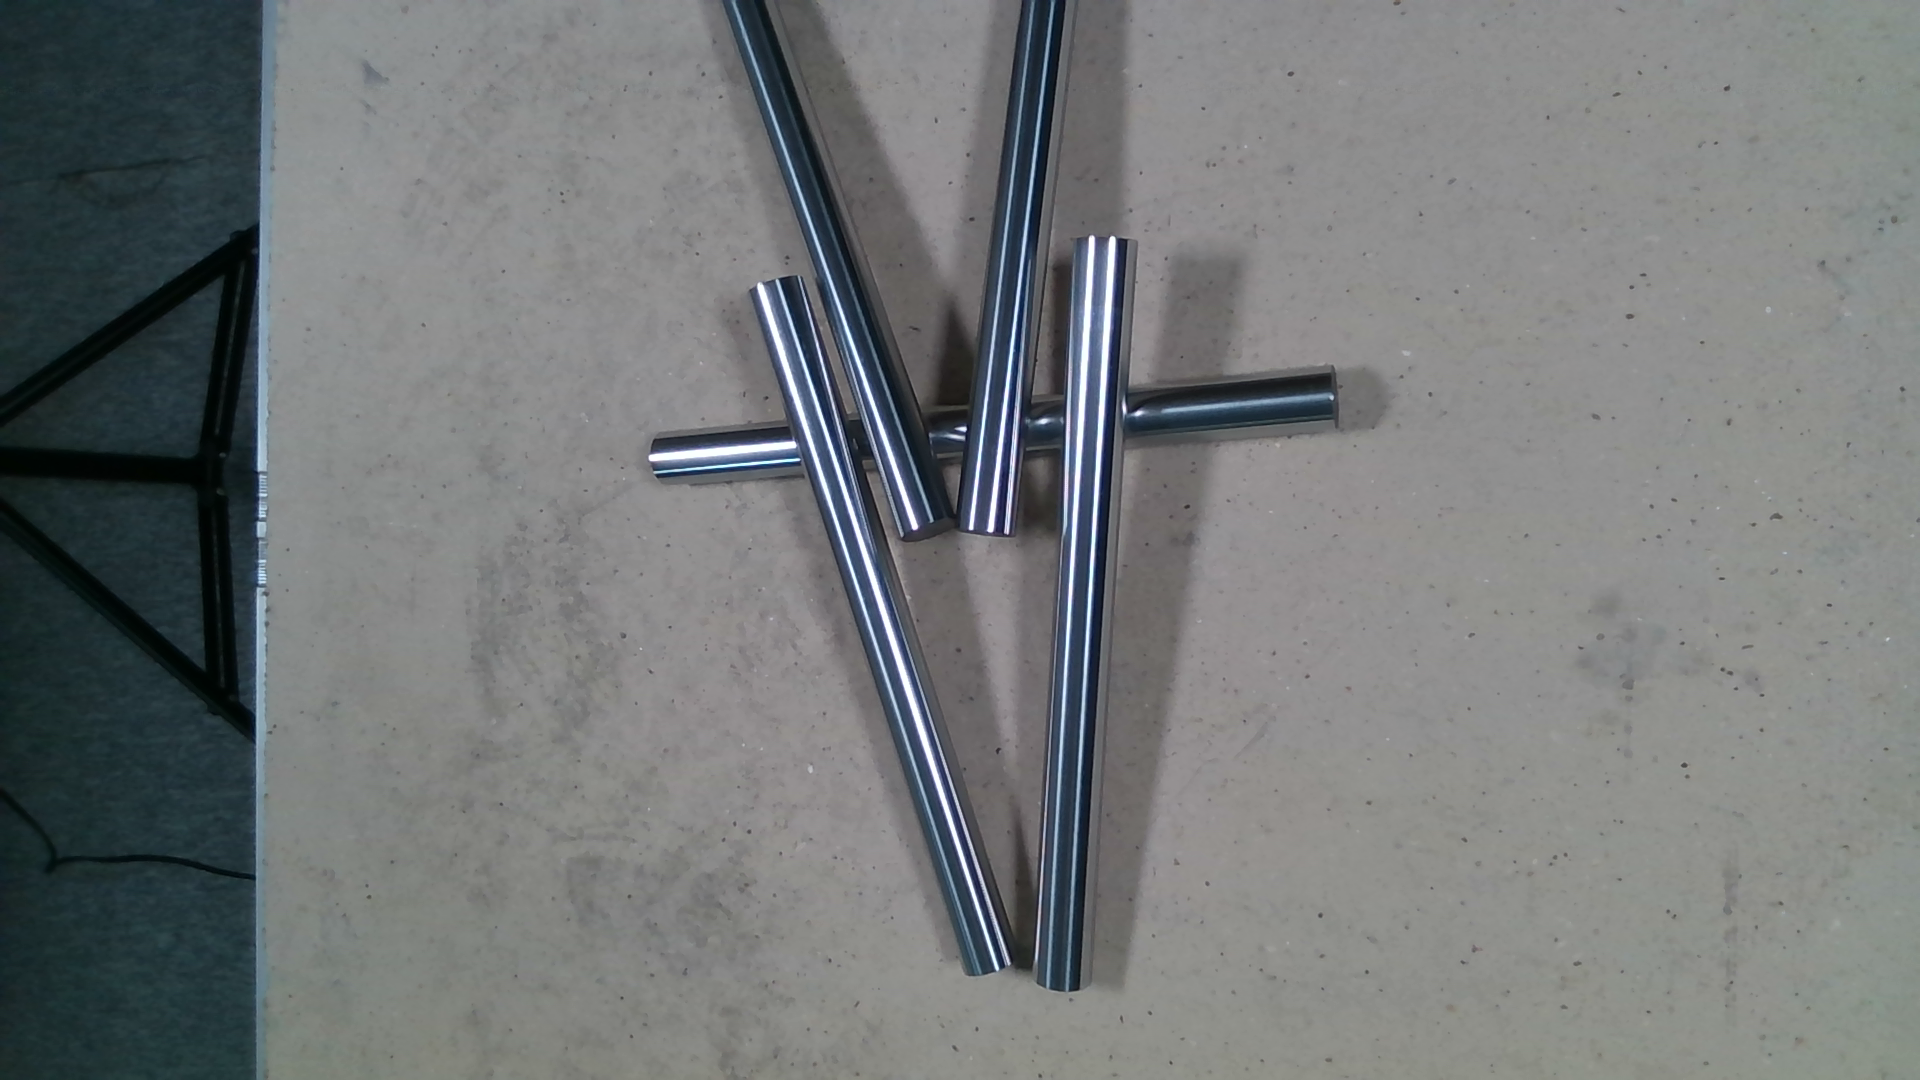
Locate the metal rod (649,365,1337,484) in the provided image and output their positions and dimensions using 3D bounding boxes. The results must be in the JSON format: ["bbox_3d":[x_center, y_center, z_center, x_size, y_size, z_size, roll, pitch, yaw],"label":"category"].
[{"bbox_3d":[0.004,-0.047,0.584,0.300,0.025,0.025,-4,89,20],"label":"metal rod"}]

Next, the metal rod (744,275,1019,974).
[{"bbox_3d":[-0.033,0.036,0.581,0.025,0.025,0.300,-18,91,20],"label":"metal rod"}]

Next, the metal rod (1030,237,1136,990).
[{"bbox_3d":[0.048,0.033,0.551,0.025,0.025,0.300,6,99,20],"label":"metal rod"}]

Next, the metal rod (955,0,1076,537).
[{"bbox_3d":[0.027,-0.151,0.559,0.025,0.025,0.300,6,87,20],"label":"metal rod"}]

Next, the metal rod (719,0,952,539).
[{"bbox_3d":[-0.060,-0.142,0.592,0.025,0.025,0.299,-23,77,19],"label":"metal rod"}]
